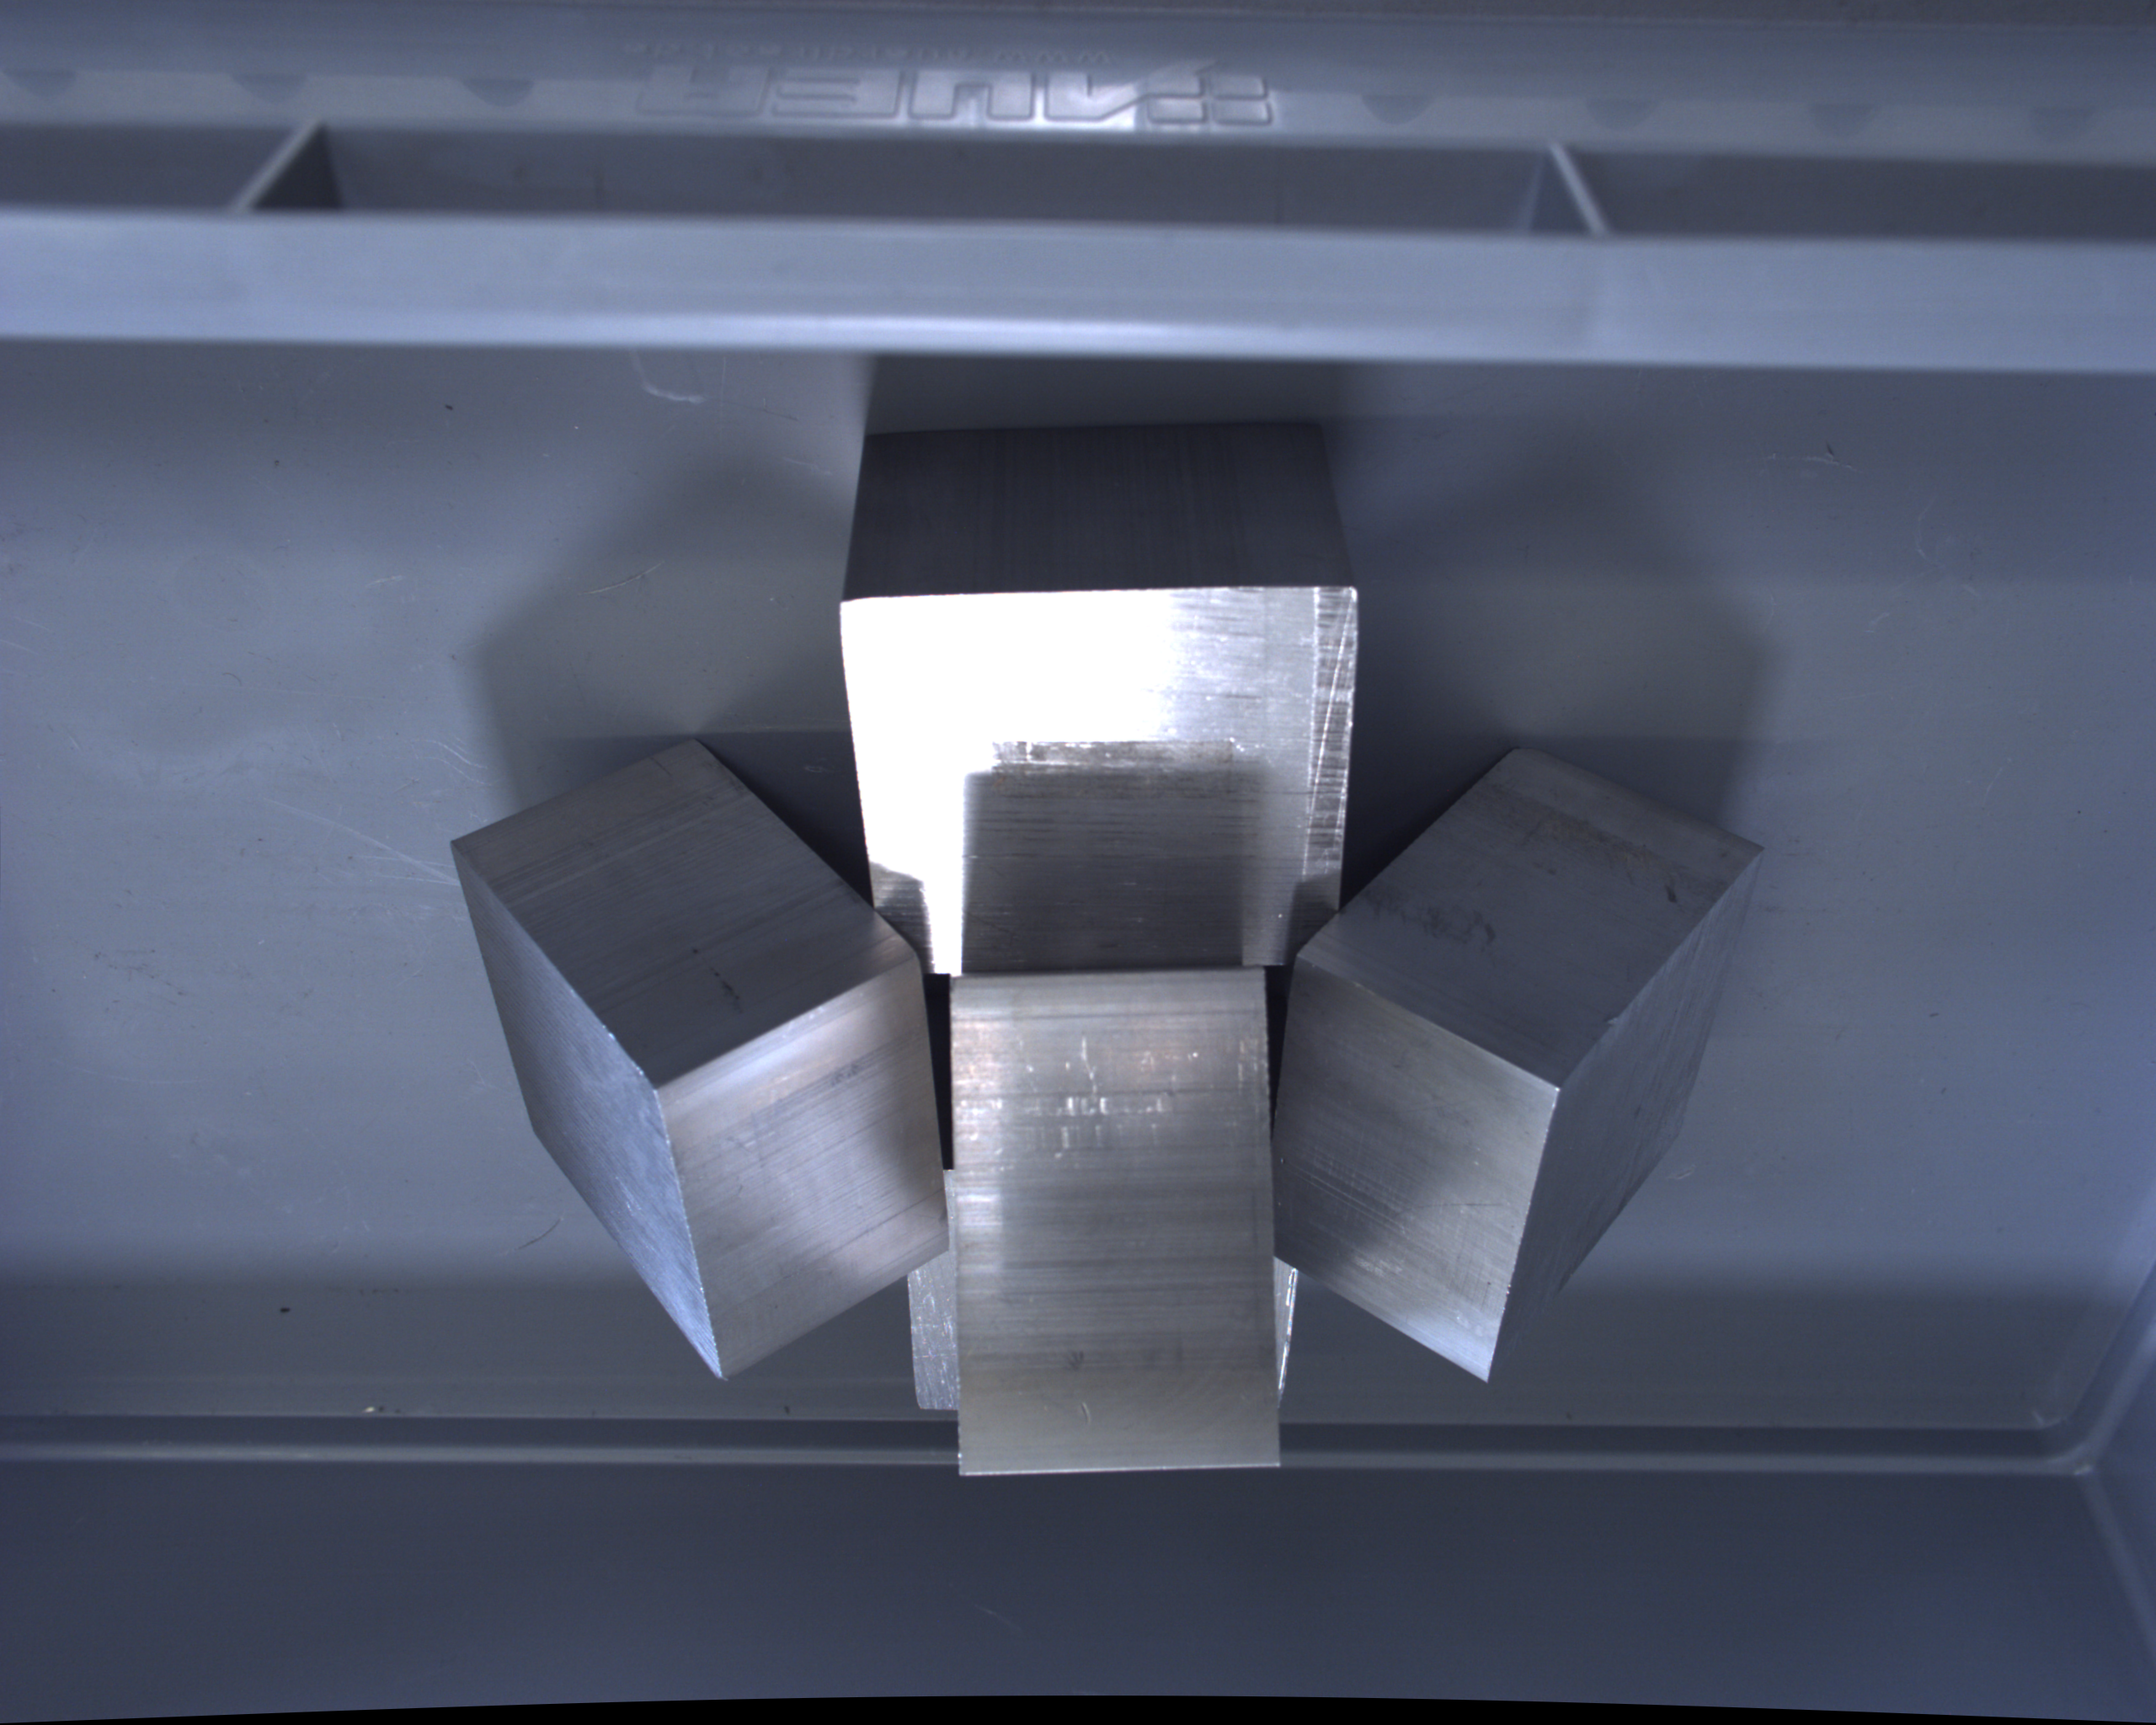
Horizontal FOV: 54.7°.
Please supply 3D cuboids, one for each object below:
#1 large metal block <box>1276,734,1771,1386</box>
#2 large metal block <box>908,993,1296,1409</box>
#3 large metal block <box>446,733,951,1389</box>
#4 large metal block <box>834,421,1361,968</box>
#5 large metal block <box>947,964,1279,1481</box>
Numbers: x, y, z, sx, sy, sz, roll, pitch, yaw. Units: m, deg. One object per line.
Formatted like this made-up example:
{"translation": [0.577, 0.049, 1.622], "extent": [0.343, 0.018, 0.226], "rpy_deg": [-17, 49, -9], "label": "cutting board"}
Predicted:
{"translation": [0.081, 0.036, 0.393], "extent": [0.050, 0.080, 0.079], "rpy_deg": [28, 137, 28], "label": "large metal block"}
{"translation": [0.005, 0.075, 0.455], "extent": [0.081, 0.050, 0.079], "rpy_deg": [0, 130, -1], "label": "large metal block"}
{"translation": [-0.070, 0.036, 0.391], "extent": [0.050, 0.080, 0.079], "rpy_deg": [-27, 137, -26], "label": "large metal block"}
{"translation": [0.004, -0.028, 0.363], "extent": [0.080, 0.050, 0.079], "rpy_deg": [-1, 130, 1], "label": "large metal block"}
{"translation": [0.005, 0.059, 0.369], "extent": [0.050, 0.080, 0.080], "rpy_deg": [-1, 86, -1], "label": "large metal block"}
